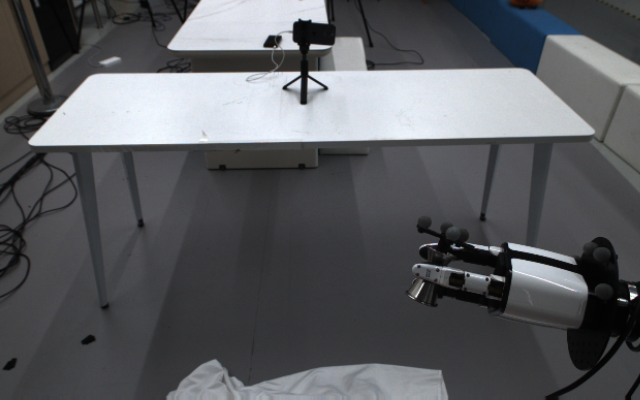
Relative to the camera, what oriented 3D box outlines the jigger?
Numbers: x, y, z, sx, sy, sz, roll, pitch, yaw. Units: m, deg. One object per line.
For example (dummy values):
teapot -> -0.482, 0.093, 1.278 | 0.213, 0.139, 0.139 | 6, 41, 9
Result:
jigger -> 0.140, 0.094, 0.615 | 0.043, 0.071, 0.043 | 22, 6, -2
